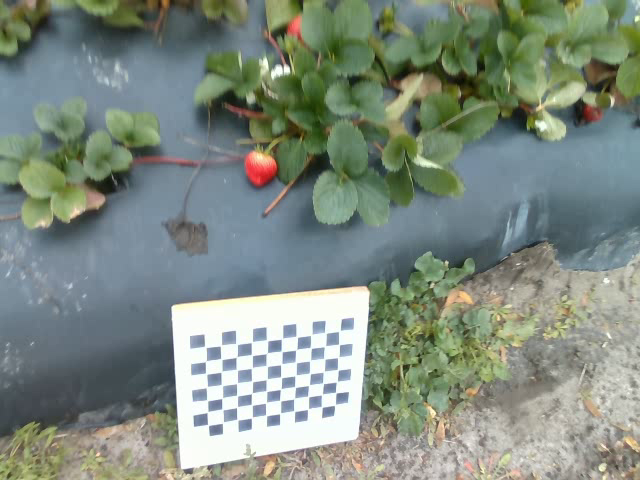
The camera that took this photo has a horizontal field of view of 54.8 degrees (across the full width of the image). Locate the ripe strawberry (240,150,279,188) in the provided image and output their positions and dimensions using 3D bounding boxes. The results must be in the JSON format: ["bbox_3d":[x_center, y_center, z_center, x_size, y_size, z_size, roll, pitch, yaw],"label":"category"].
[{"bbox_3d":[-0.105,-0.120,1.051,0.061,0.065,0.049,5,14,-23],"label":"ripe strawberry"}]
